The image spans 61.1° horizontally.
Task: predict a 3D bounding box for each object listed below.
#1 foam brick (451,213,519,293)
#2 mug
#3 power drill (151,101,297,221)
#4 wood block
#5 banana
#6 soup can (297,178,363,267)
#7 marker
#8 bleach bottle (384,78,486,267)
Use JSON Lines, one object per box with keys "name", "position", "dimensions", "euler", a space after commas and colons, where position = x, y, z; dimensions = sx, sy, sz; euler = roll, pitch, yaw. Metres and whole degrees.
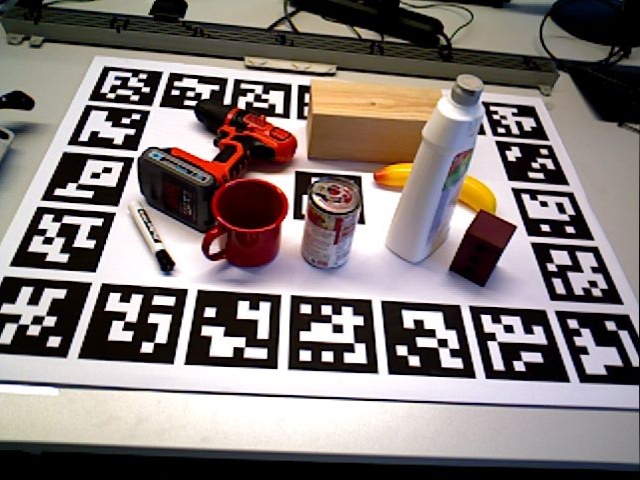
{"name": "foam brick", "position": [0.208, 0.017, 0.685], "dimensions": [0.053, 0.080, 0.050], "euler": [30, 49, 19]}
{"name": "mug", "position": [-0.100, -0.021, 0.668], "dimensions": [0.093, 0.083, 0.115], "euler": [40, 58, 22]}
{"name": "power drill", "position": [-0.149, -0.121, 0.772], "dimensions": [0.184, 0.059, 0.182], "euler": [29, 50, 12]}
{"name": "wood block", "position": [0.086, -0.176, 0.825], "dimensions": [0.205, 0.093, 0.088], "euler": [4, 50, -5]}
{"name": "banana", "position": [0.163, -0.088, 0.790], "dimensions": [0.197, 0.039, 0.073], "euler": [18, 63, 5]}
{"name": "soup can", "position": [0.009, -0.025, 0.666], "dimensions": [0.067, 0.104, 0.067], "euler": [5, 45, -6]}
{"name": "marker", "position": [-0.218, -0.005, 0.684], "dimensions": [0.019, 0.020, 0.120], "euler": [-21, 56, -22]}
{"name": "bleach bottle", "position": [0.141, -0.083, 0.642], "dimensions": [0.068, 0.257, 0.100], "euler": [27, 49, 15]}
